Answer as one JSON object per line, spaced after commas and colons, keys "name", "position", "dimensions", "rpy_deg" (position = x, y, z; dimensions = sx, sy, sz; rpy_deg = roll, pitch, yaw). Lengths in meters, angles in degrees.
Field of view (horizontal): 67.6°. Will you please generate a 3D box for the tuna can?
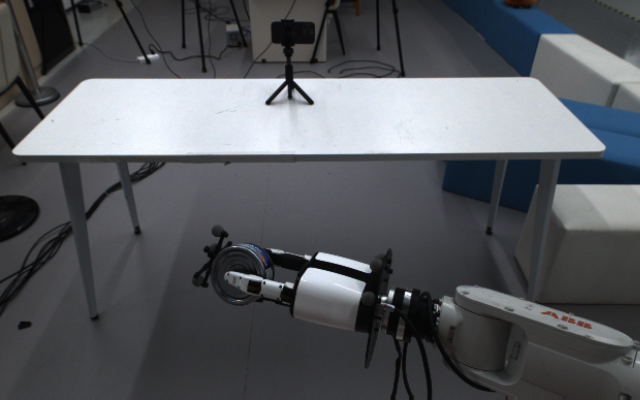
{"name": "tuna can", "position": [-0.106, 0.109, 0.679], "dimensions": [0.085, 0.085, 0.034], "rpy_deg": [12, 5, 14]}
